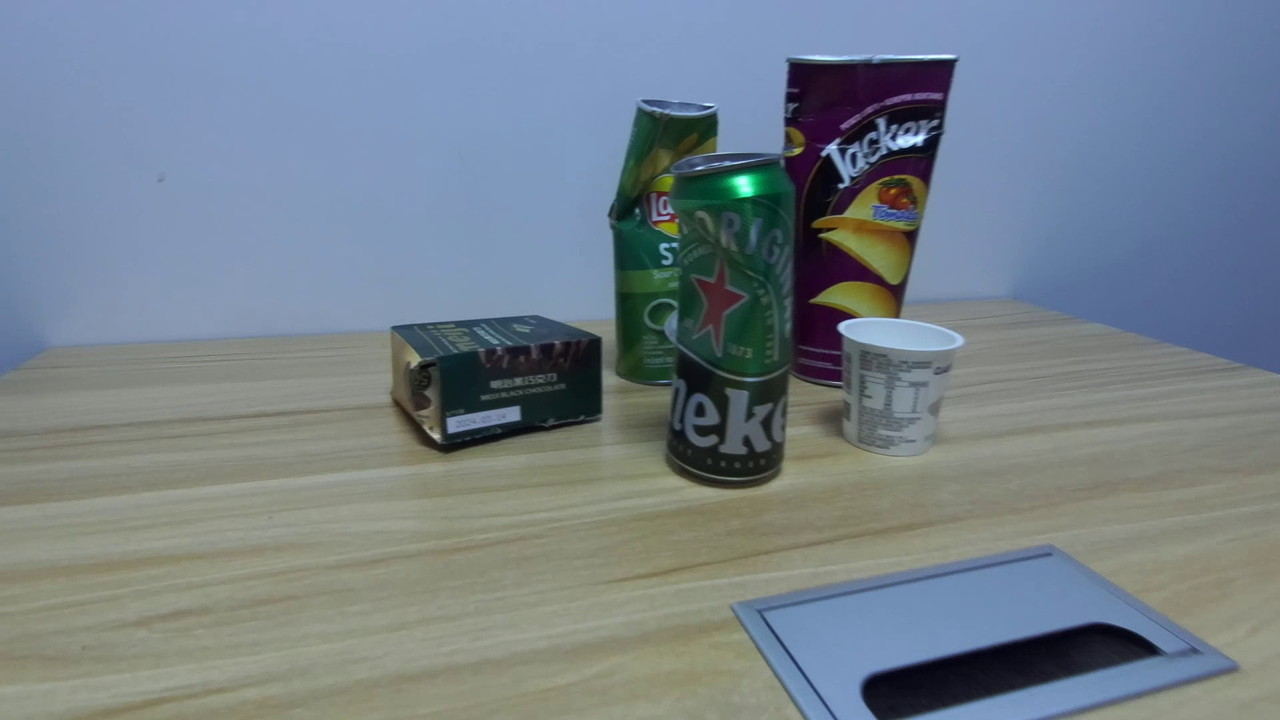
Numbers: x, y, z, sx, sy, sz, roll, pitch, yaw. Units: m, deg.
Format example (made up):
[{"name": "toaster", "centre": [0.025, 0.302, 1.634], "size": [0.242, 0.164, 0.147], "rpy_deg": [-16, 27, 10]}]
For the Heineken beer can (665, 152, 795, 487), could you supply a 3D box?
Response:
[{"name": "Heineken beer can", "centre": [0.045, -0.019, 0.373], "size": [0.069, 0.168, 0.068], "rpy_deg": [4, 17, 22]}]

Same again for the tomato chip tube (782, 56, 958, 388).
[{"name": "tomato chip tube", "centre": [0.155, -0.099, 0.522], "size": [0.078, 0.236, 0.089], "rpy_deg": [-13, 24, -35]}]

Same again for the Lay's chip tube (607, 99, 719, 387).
[{"name": "Lay's chip tube", "centre": [0.018, -0.085, 0.521], "size": [0.069, 0.201, 0.077], "rpy_deg": [5, 21, 8]}]

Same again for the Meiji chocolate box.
[{"name": "Meiji chocolate box", "centre": [-0.097, 0.008, 0.467], "size": [0.123, 0.058, 0.115], "rpy_deg": [-8, 17, -30]}]
